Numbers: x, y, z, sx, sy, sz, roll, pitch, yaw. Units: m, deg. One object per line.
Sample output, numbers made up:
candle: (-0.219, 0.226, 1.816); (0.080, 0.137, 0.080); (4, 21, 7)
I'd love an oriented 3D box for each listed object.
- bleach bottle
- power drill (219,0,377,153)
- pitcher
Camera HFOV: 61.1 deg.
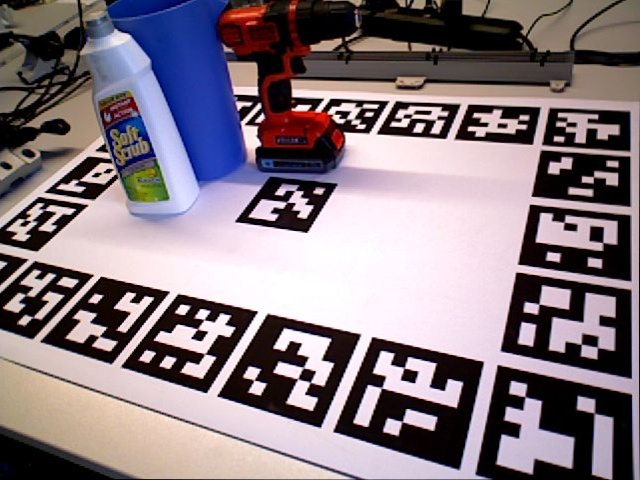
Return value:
bleach bottle: (-0.233, -0.163, 0.636); (0.103, 0.255, 0.066); (2, 44, 17)
power drill: (-0.021, -0.198, 0.662); (0.185, 0.191, 0.056); (8, 48, 14)
pitcher: (-0.184, -0.214, 0.709); (0.188, 0.247, 0.131); (-11, 43, 3)
